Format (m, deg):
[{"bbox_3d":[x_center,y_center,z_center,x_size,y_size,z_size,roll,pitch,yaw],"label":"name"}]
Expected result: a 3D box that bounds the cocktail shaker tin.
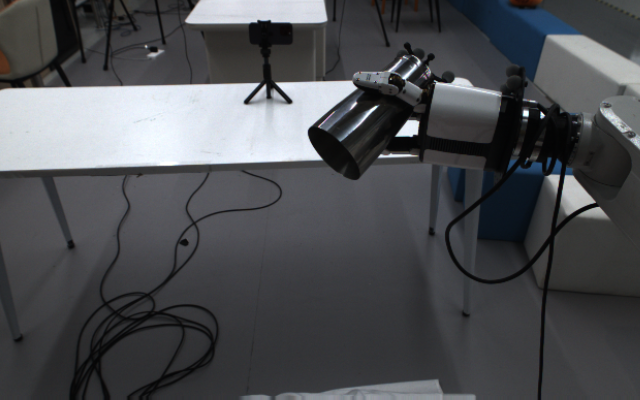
[{"bbox_3d":[0.075,-0.121,0.650,0.170,0.093,0.093,-44,51,-15],"label":"cocktail shaker tin"}]
